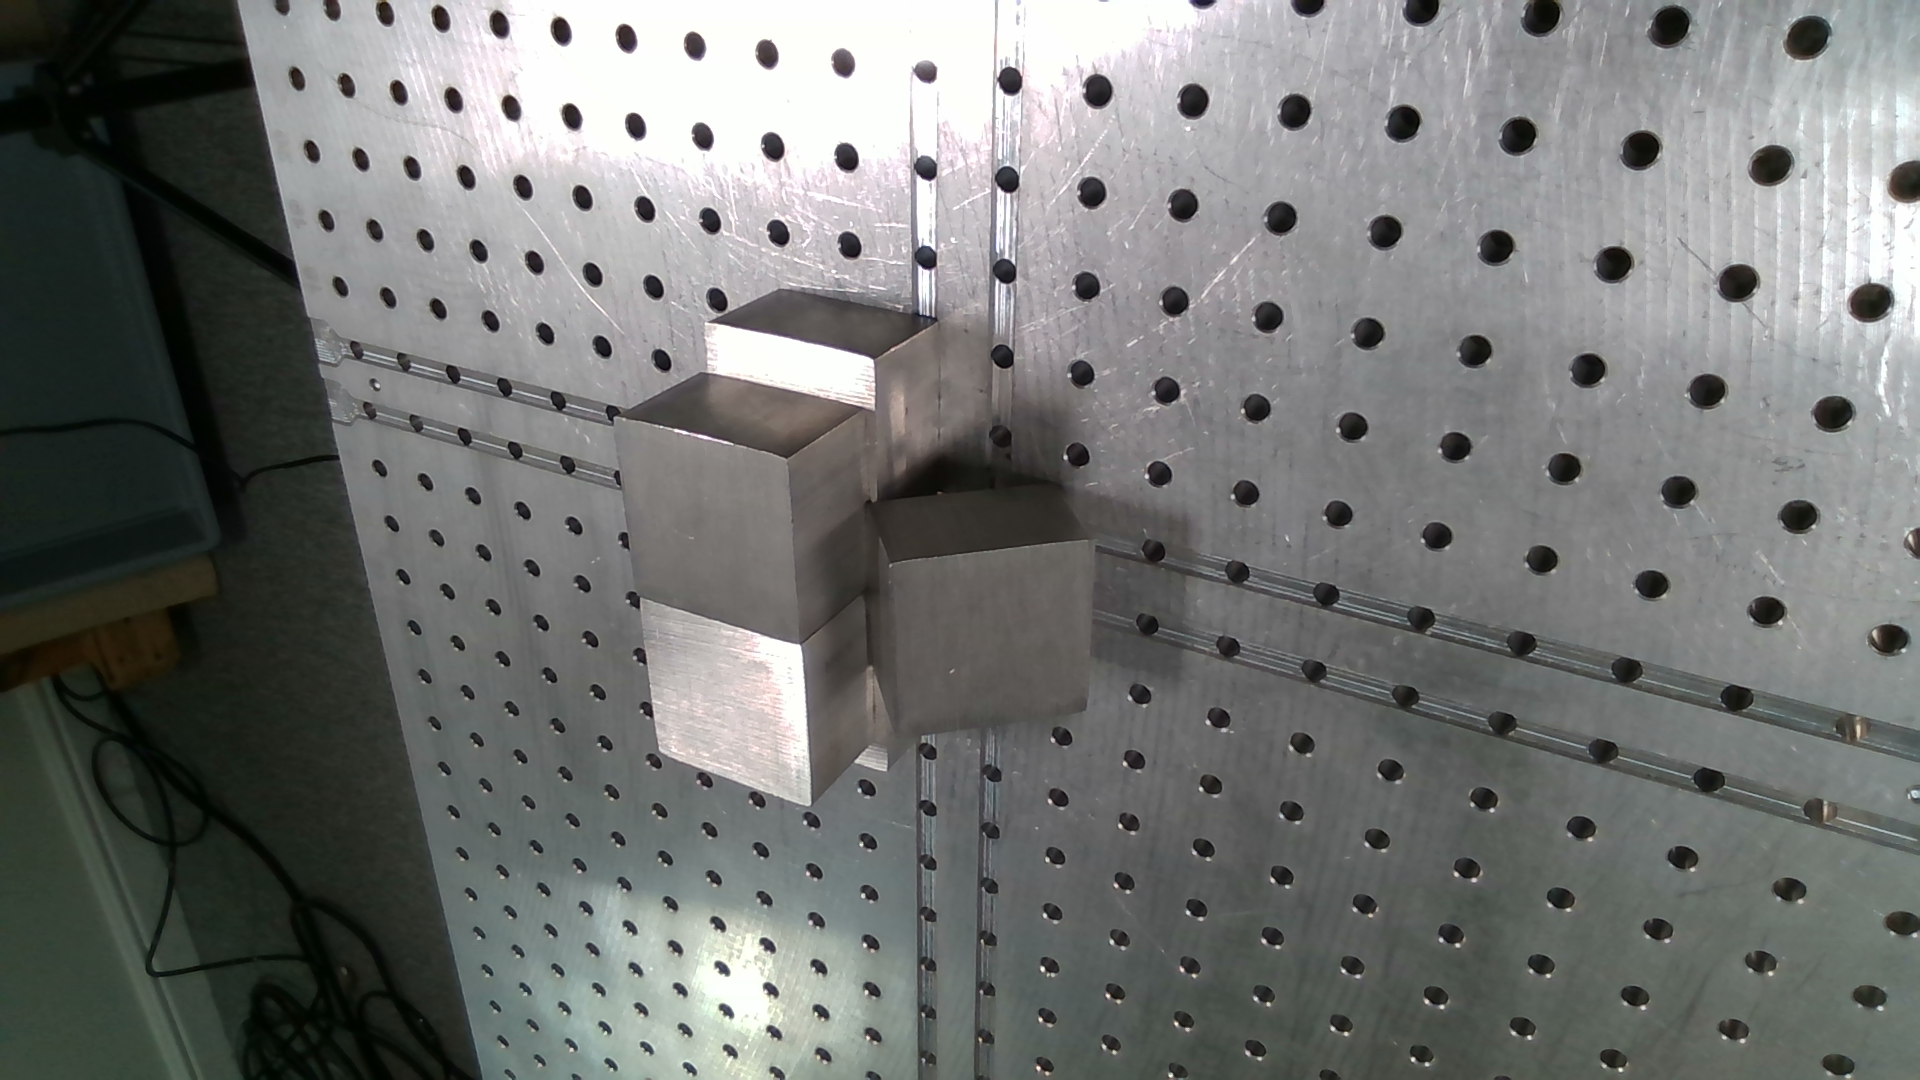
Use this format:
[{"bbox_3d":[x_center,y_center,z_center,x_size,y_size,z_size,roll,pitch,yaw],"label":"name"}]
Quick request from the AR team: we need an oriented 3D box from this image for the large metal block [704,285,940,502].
[{"bbox_3d":[-0.056,-0.054,0.572,0.080,0.050,0.080,16,122,24],"label":"large metal block"}]

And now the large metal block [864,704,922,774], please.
[{"bbox_3d":[-0.056,0.050,0.628,0.080,0.050,0.080,13,121,25],"label":"large metal block"}]

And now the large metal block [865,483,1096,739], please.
[{"bbox_3d":[0.007,0.027,0.551,0.080,0.050,0.080,-7,120,-12],"label":"large metal block"}]

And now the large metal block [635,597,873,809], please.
[{"bbox_3d":[-0.086,0.056,0.583,0.080,0.050,0.080,14,122,25],"label":"large metal block"}]

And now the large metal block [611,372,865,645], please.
[{"bbox_3d":[-0.085,-0.014,0.543,0.080,0.050,0.080,14,122,25],"label":"large metal block"}]
